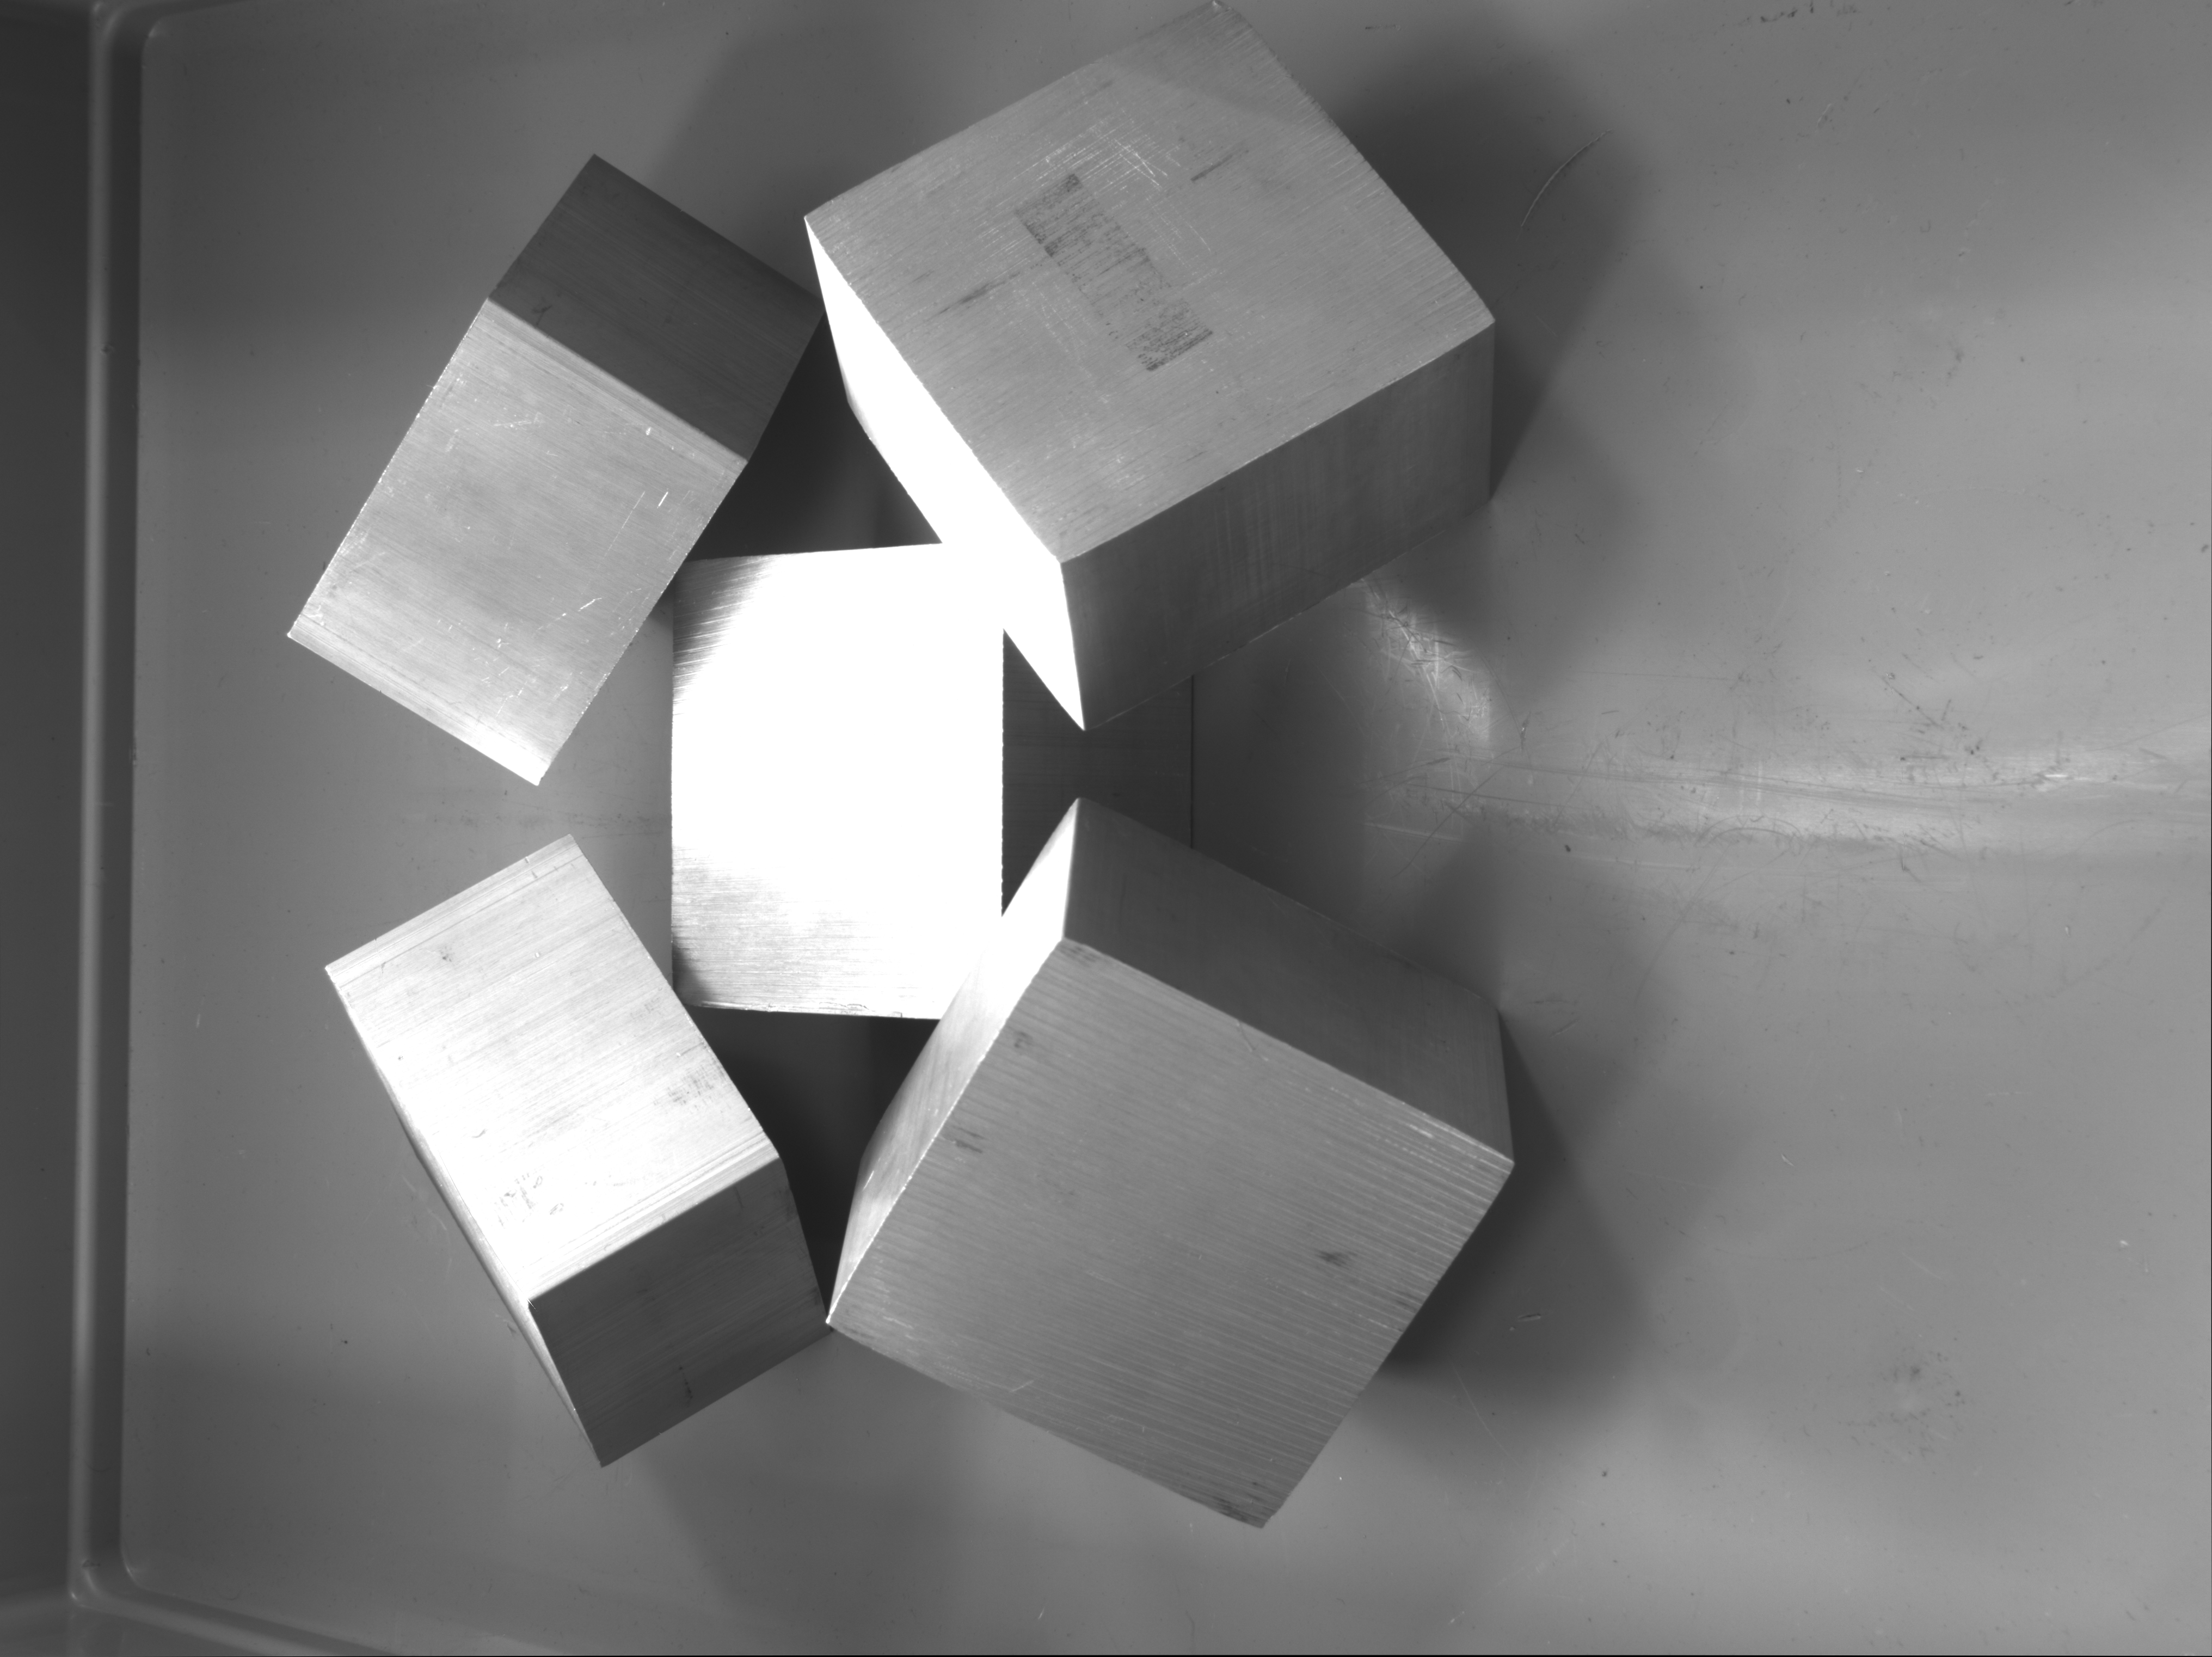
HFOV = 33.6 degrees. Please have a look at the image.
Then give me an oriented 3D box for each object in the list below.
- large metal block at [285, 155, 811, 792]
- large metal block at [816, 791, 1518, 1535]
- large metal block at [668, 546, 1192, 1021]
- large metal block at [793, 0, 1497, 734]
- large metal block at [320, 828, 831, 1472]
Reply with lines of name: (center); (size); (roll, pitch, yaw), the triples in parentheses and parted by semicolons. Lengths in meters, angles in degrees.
large metal block: (-0.102, -0.067, 0.682); (0.050, 0.080, 0.080); (31, 117, -11)
large metal block: (0.009, 0.054, 0.590); (0.080, 0.050, 0.080); (27, 113, -11)
large metal block: (-0.032, -0.008, 0.653); (0.080, 0.050, 0.080); (1, 90, 40)
large metal block: (0.007, -0.076, 0.594); (0.080, 0.050, 0.080); (-30, 63, -10)
large metal block: (-0.097, 0.061, 0.682); (0.080, 0.050, 0.080); (53, 165, 27)
